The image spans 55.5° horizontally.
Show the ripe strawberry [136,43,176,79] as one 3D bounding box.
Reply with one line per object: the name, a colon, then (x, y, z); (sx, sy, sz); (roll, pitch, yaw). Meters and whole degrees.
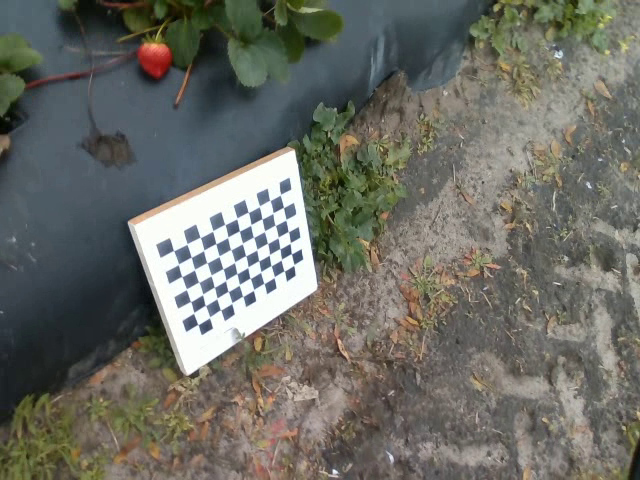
ripe strawberry: (-0.270, -0.288, 0.993); (0.050, 0.064, 0.061); (15, 28, 43)
